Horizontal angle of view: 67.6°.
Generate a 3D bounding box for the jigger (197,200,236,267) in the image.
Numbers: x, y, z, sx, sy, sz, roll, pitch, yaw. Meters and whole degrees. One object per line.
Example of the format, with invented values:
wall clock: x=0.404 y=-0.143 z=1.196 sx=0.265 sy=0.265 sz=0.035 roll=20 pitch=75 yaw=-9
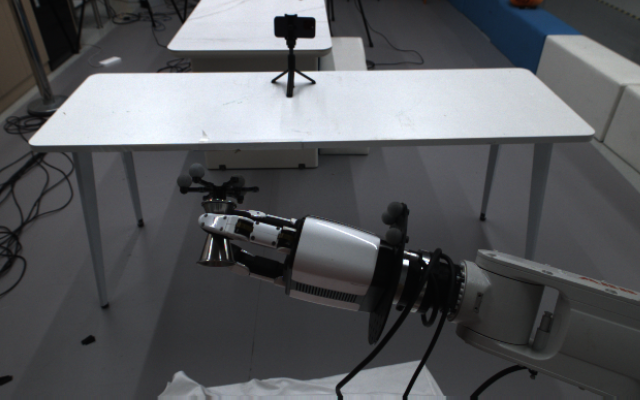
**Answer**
jigger: x=-0.112 y=0.037 z=0.536 sx=0.043 sy=0.043 sz=0.071 roll=0 pitch=75 yaw=-3
